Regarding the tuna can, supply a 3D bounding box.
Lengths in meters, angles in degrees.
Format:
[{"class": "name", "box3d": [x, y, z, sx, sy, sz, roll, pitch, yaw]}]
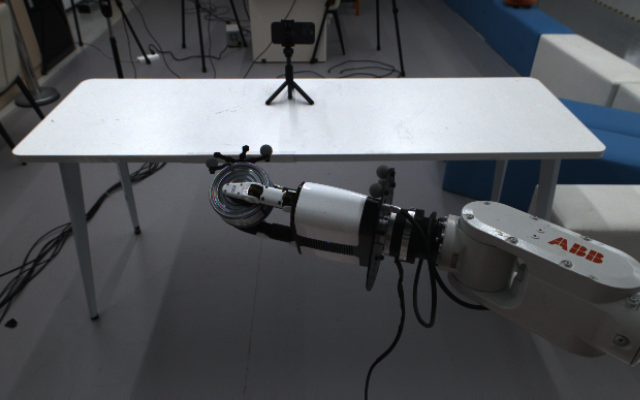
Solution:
[{"class": "tuna can", "box3d": [-0.102, -0.002, 0.654, 0.085, 0.034, 0.085, -4, 68, 9]}]
